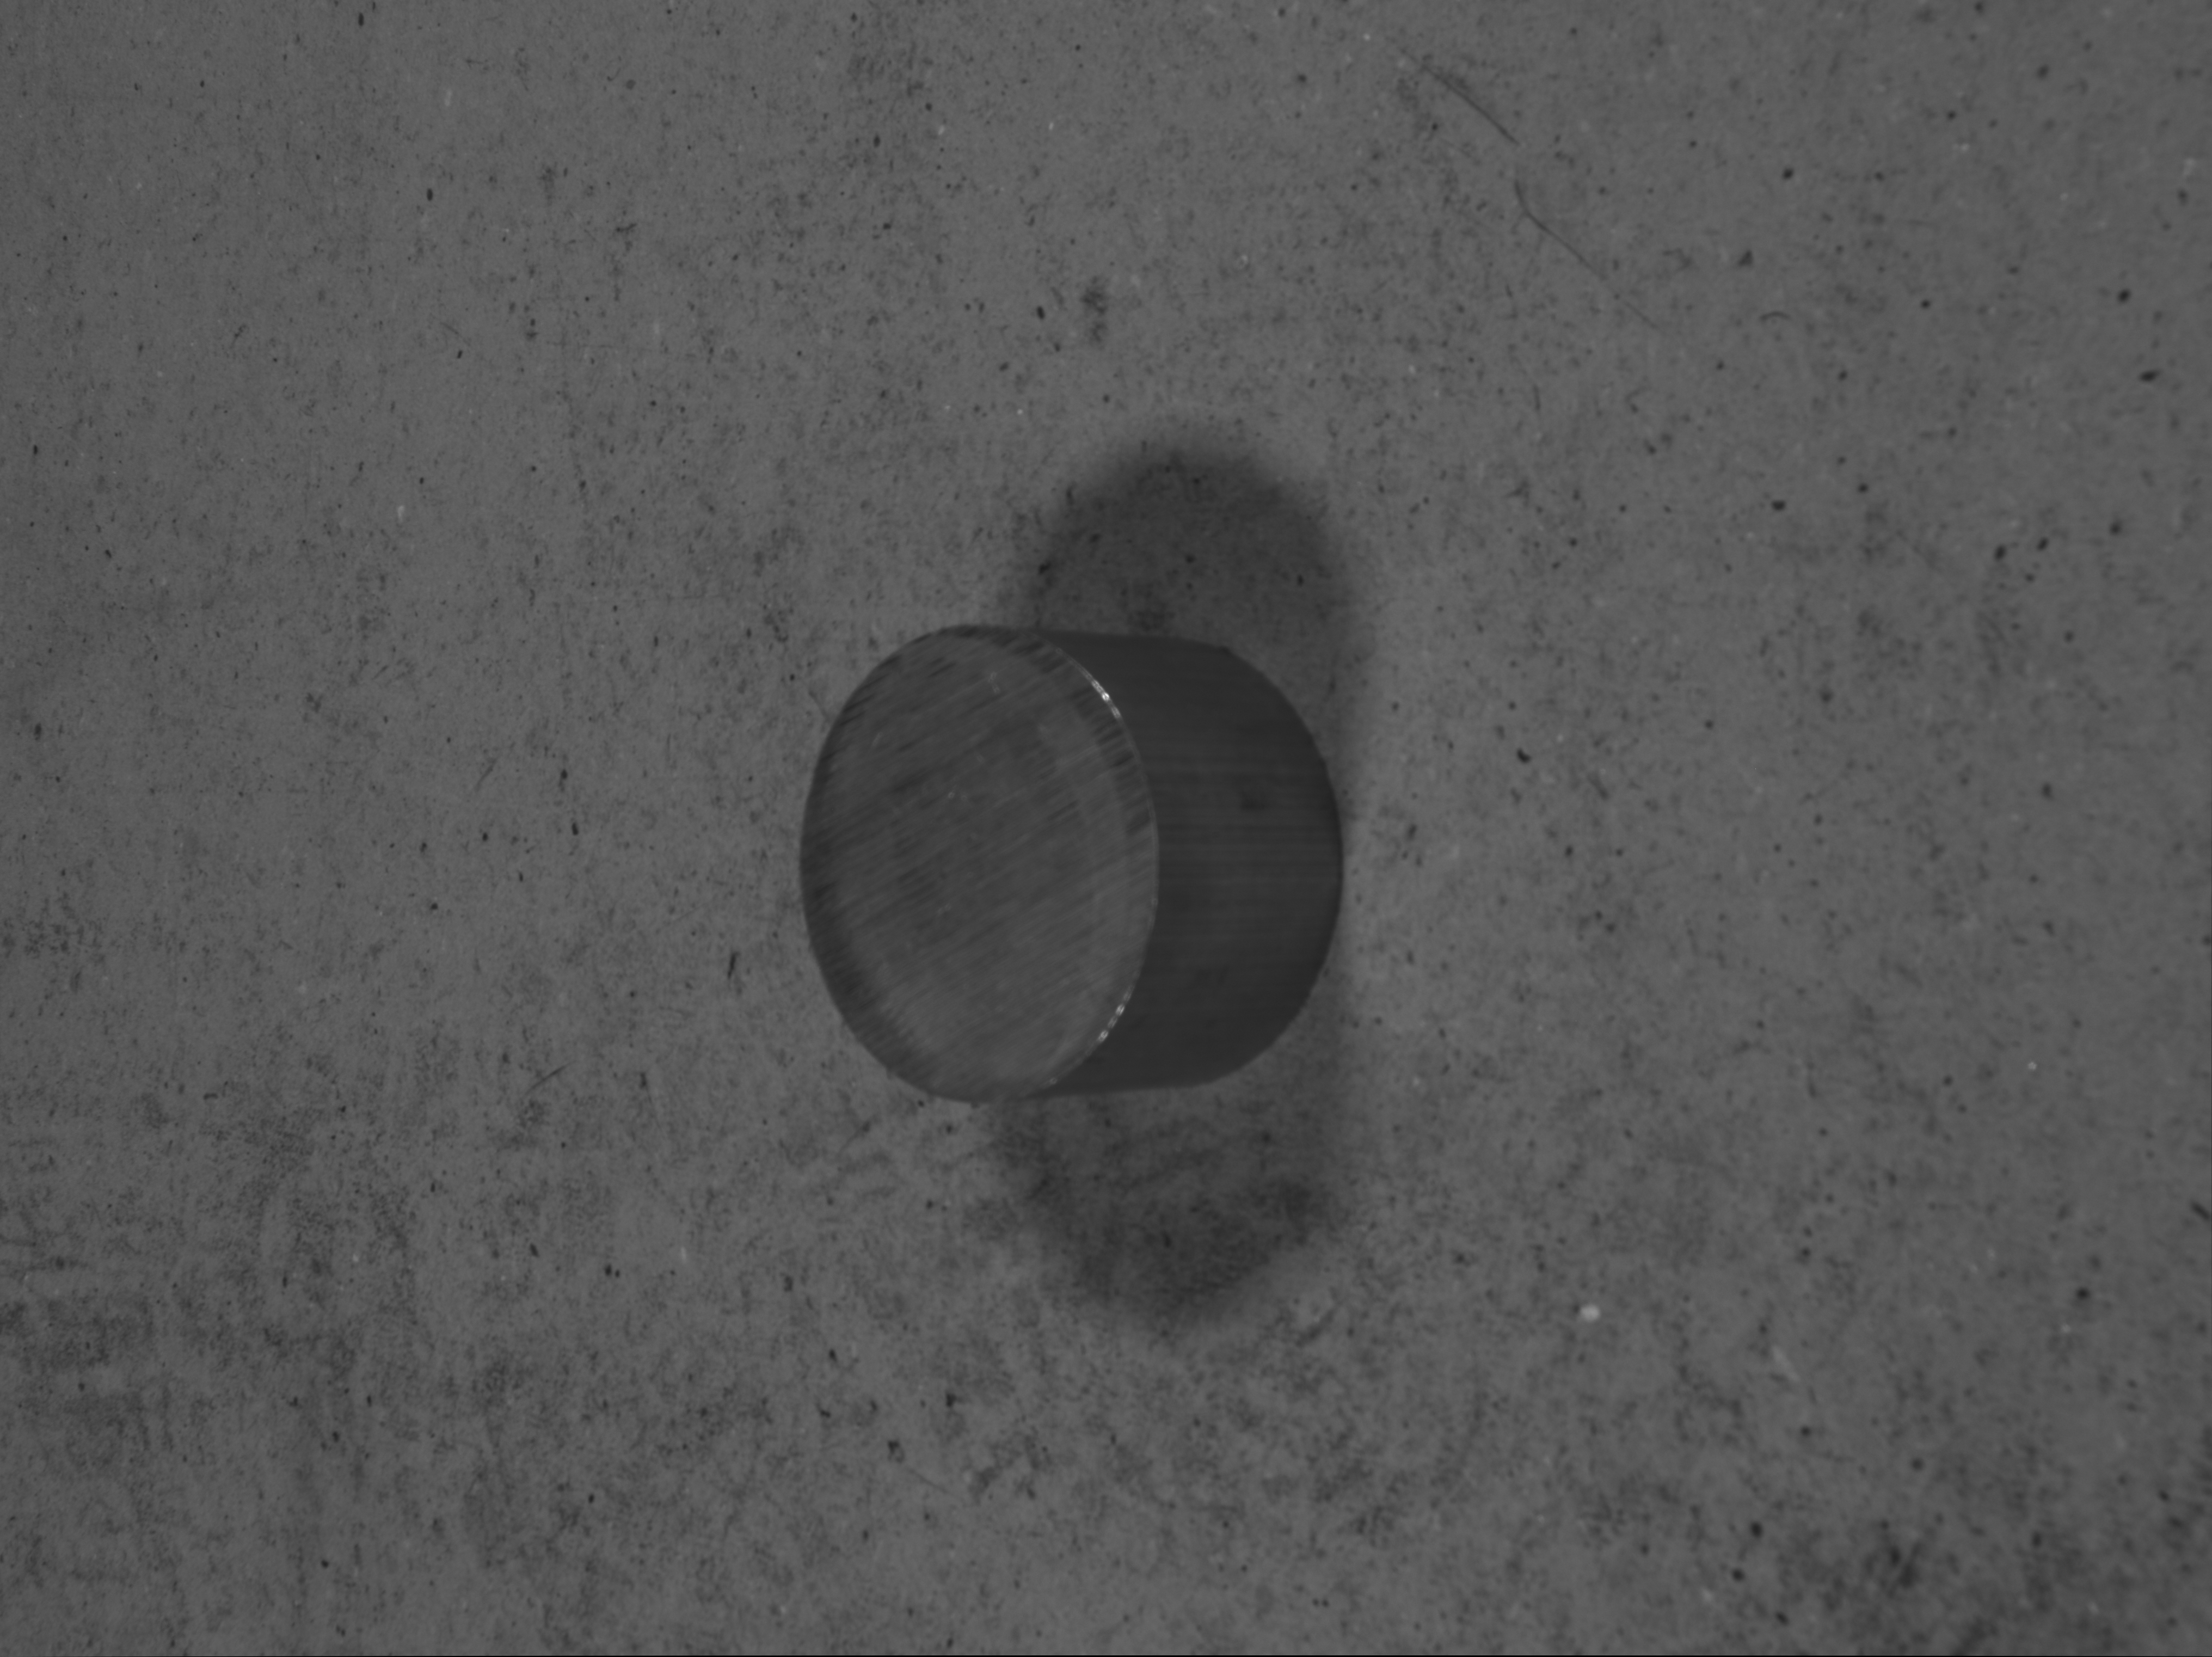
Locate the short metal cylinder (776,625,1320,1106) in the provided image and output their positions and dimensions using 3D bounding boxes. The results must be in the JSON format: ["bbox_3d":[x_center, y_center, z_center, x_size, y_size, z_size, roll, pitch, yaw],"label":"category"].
[{"bbox_3d":[-0.010,0.006,0.629,0.080,0.050,0.080,0,90,39],"label":"short metal cylinder"}]
